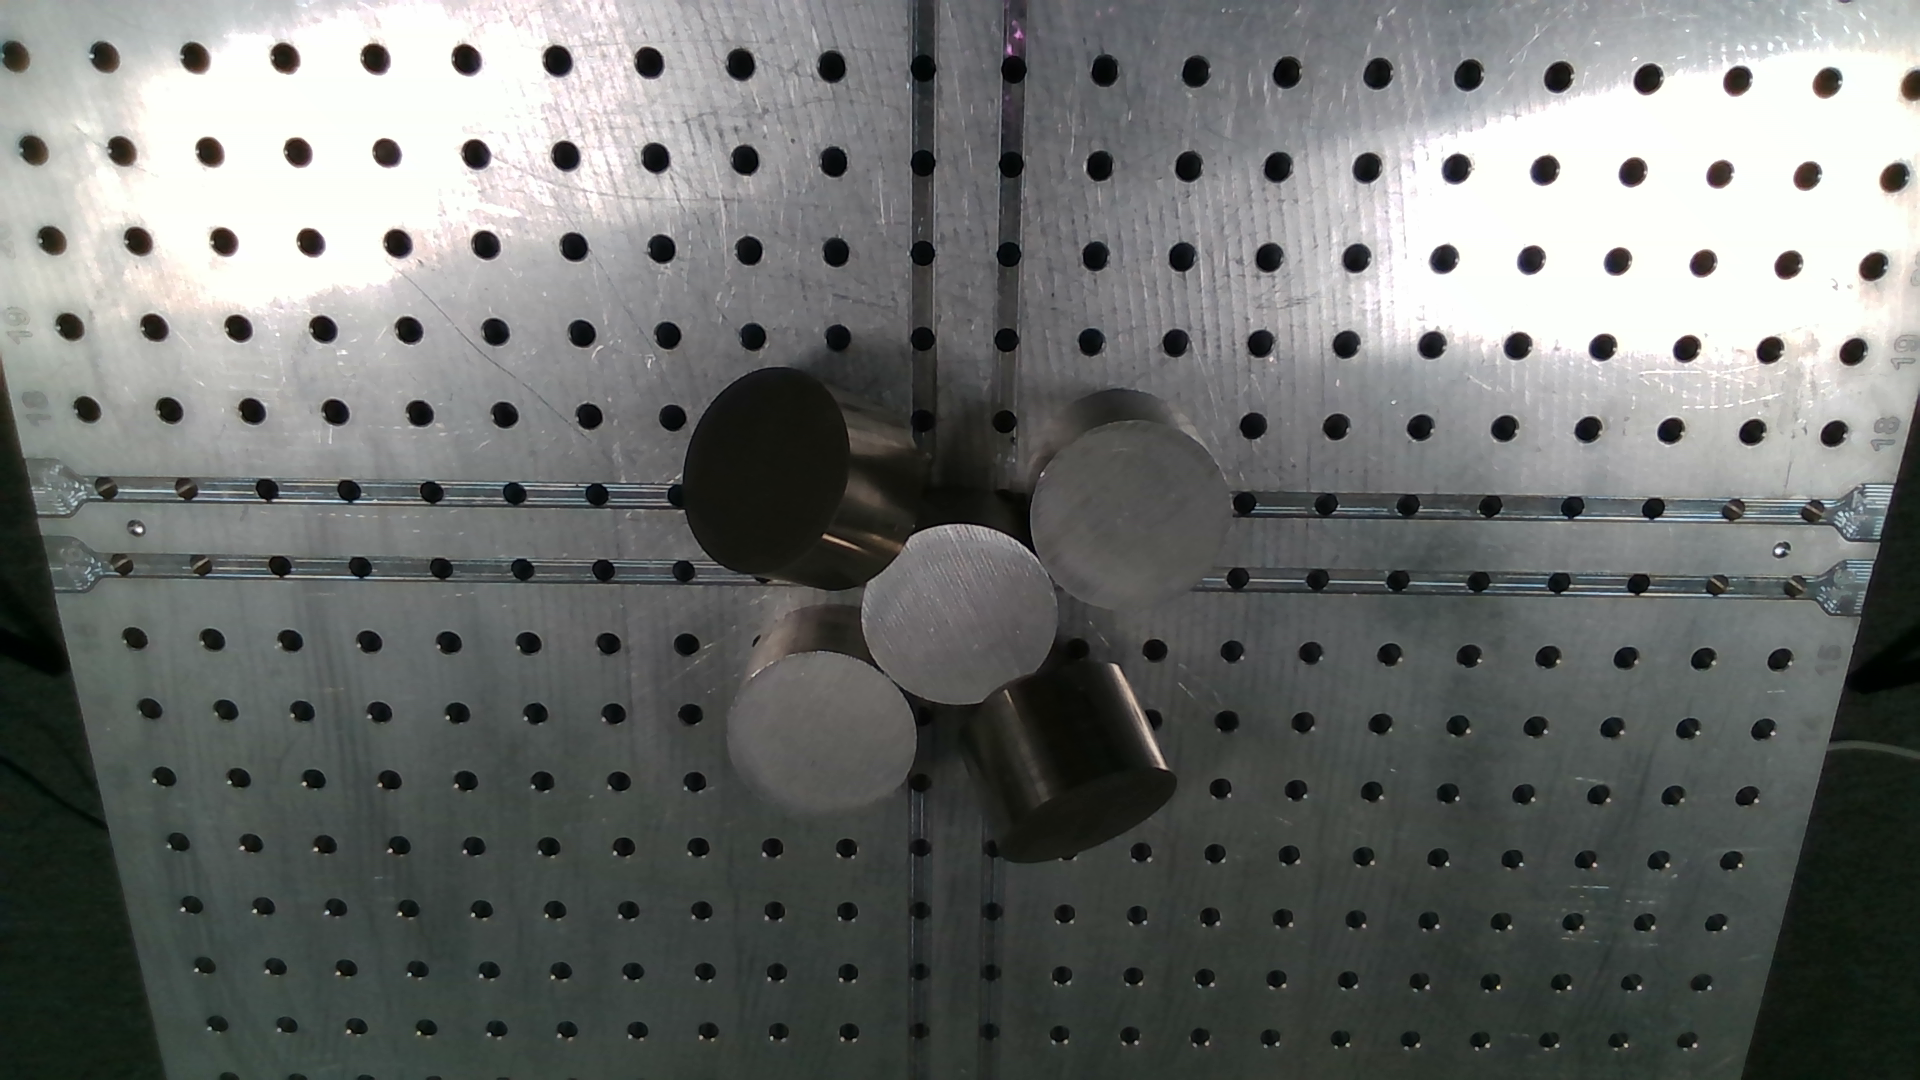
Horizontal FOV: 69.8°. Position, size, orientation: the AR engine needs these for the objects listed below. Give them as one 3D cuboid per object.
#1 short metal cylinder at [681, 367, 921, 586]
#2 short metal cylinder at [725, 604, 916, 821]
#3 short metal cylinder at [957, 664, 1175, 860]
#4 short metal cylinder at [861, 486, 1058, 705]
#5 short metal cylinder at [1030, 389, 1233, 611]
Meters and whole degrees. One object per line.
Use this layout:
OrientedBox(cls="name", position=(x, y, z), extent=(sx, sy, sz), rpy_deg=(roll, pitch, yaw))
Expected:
OrientedBox(cls="short metal cylinder", position=(-0.063, -0.023, 0.543), extent=(0.080, 0.050, 0.080), rpy_deg=(-6, 79, 30))
OrientedBox(cls="short metal cylinder", position=(-0.059, 0.075, 0.601), extent=(0.080, 0.050, 0.080), rpy_deg=(0, 110, 0))
OrientedBox(cls="short metal cylinder", position=(0.045, 0.096, 0.588), extent=(0.080, 0.050, 0.080), rpy_deg=(-17, 149, -11))
OrientedBox(cls="short metal cylinder", position=(0.000, 0.023, 0.582), extent=(0.080, 0.050, 0.080), rpy_deg=(0, 110, 0))
OrientedBox(cls="short metal cylinder", position=(0.068, -0.017, 0.567), extent=(0.080, 0.050, 0.080), rpy_deg=(0, 110, 0))
